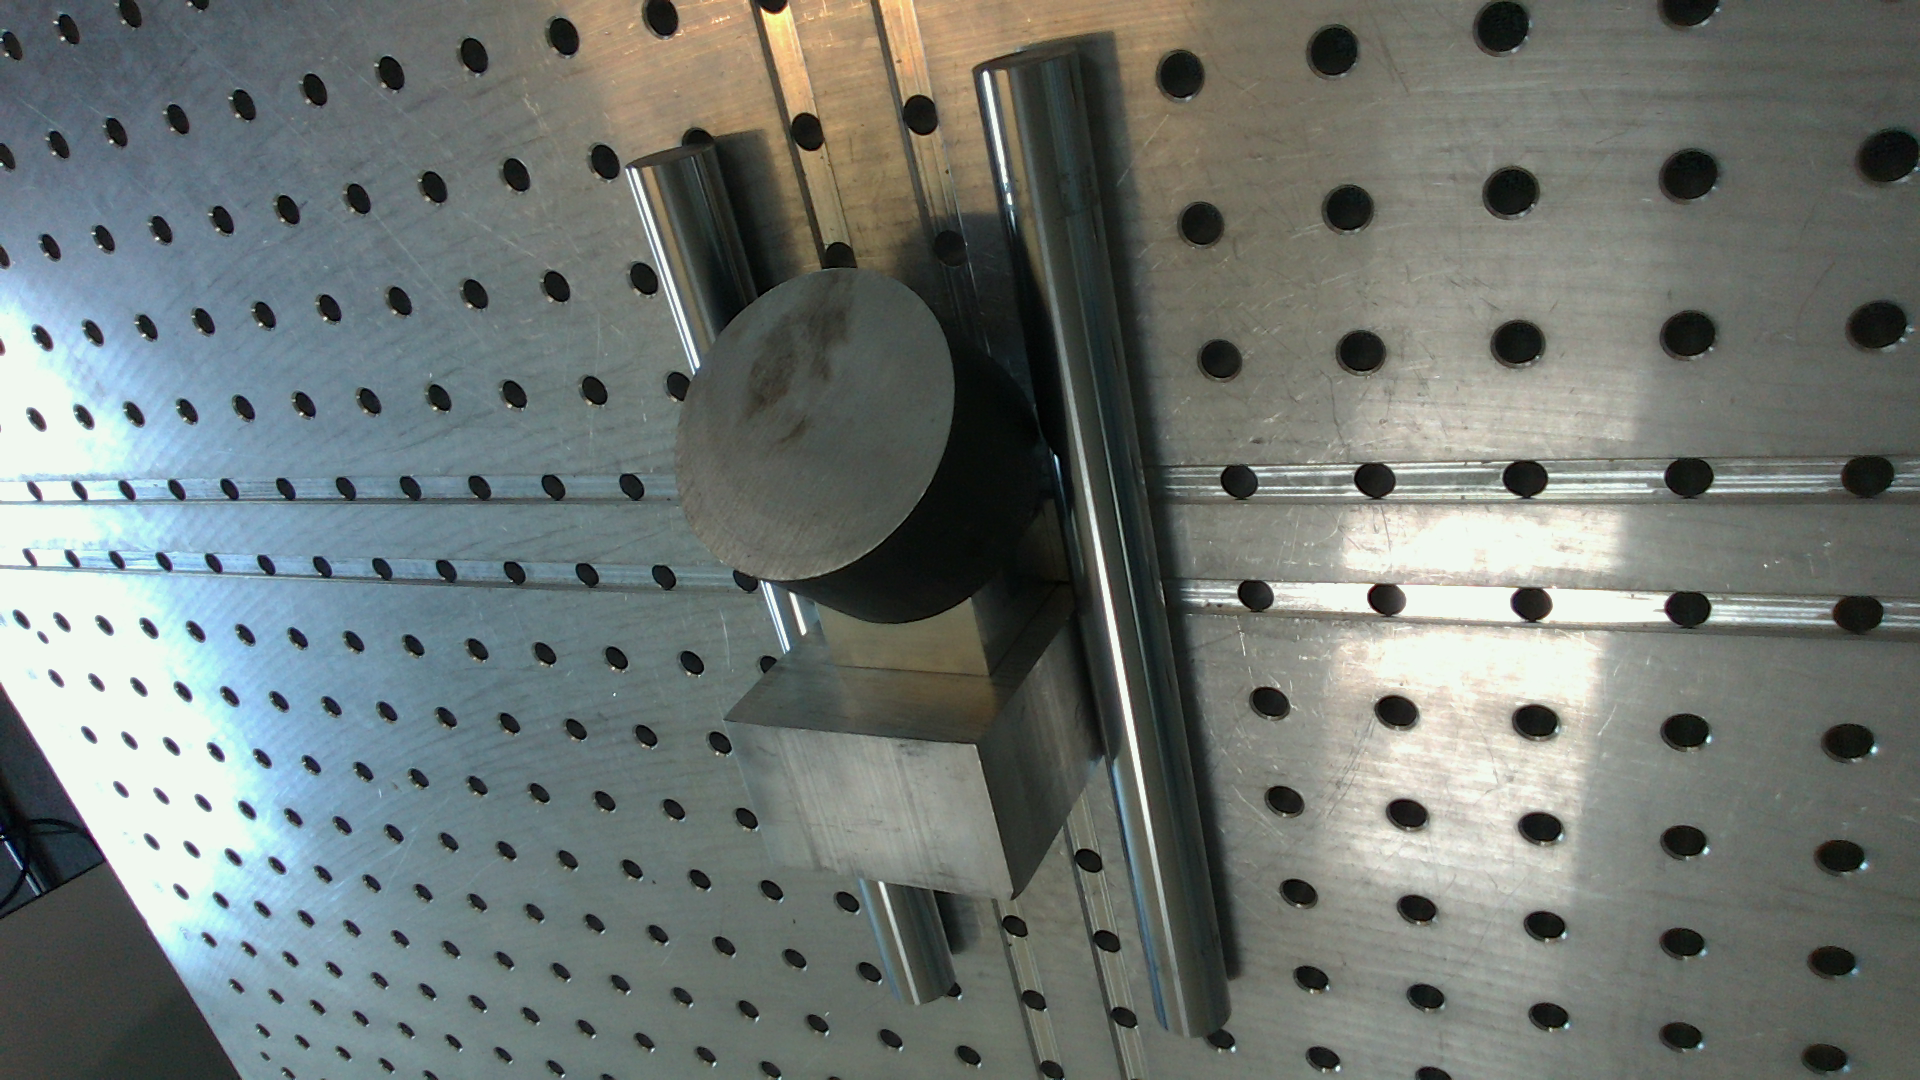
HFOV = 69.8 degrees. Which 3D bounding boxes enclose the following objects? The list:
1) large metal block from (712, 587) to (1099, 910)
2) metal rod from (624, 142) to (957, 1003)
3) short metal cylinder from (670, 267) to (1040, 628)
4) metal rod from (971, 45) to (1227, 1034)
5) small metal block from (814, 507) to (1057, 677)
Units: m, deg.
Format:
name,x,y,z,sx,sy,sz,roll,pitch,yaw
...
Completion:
name,x,y,z,sx,sy,sz,roll,pitch,yaw
large metal block,-0.010,0.055,0.396,0.080,0.080,0.050,1,119,28
metal rod,-0.046,0.027,0.437,0.025,0.025,0.300,1,119,28
short metal cylinder,-0.026,-0.022,0.352,0.080,0.050,0.080,-8,71,25
metal rod,0.045,0.020,0.384,0.025,0.025,0.300,2,119,28
small metal block,-0.007,0.013,0.391,0.050,0.050,0.025,1,119,27
